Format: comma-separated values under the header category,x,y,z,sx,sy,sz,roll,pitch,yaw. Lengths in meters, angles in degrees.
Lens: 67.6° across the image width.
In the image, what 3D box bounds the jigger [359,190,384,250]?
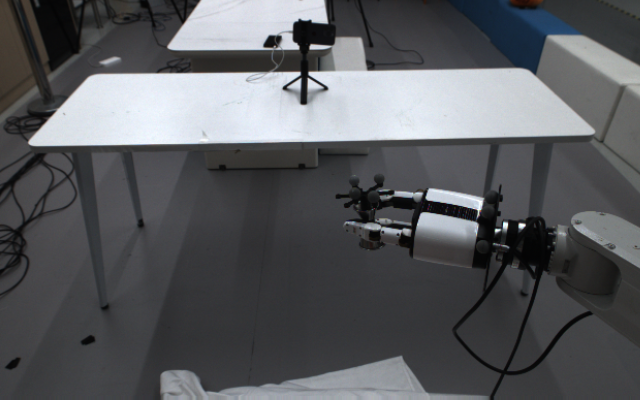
category,x,y,z,sx,sy,sz,roll,pitch,yaw
jigger,0.077,0.035,0.749,0.043,0.071,0.043,-11,23,5
